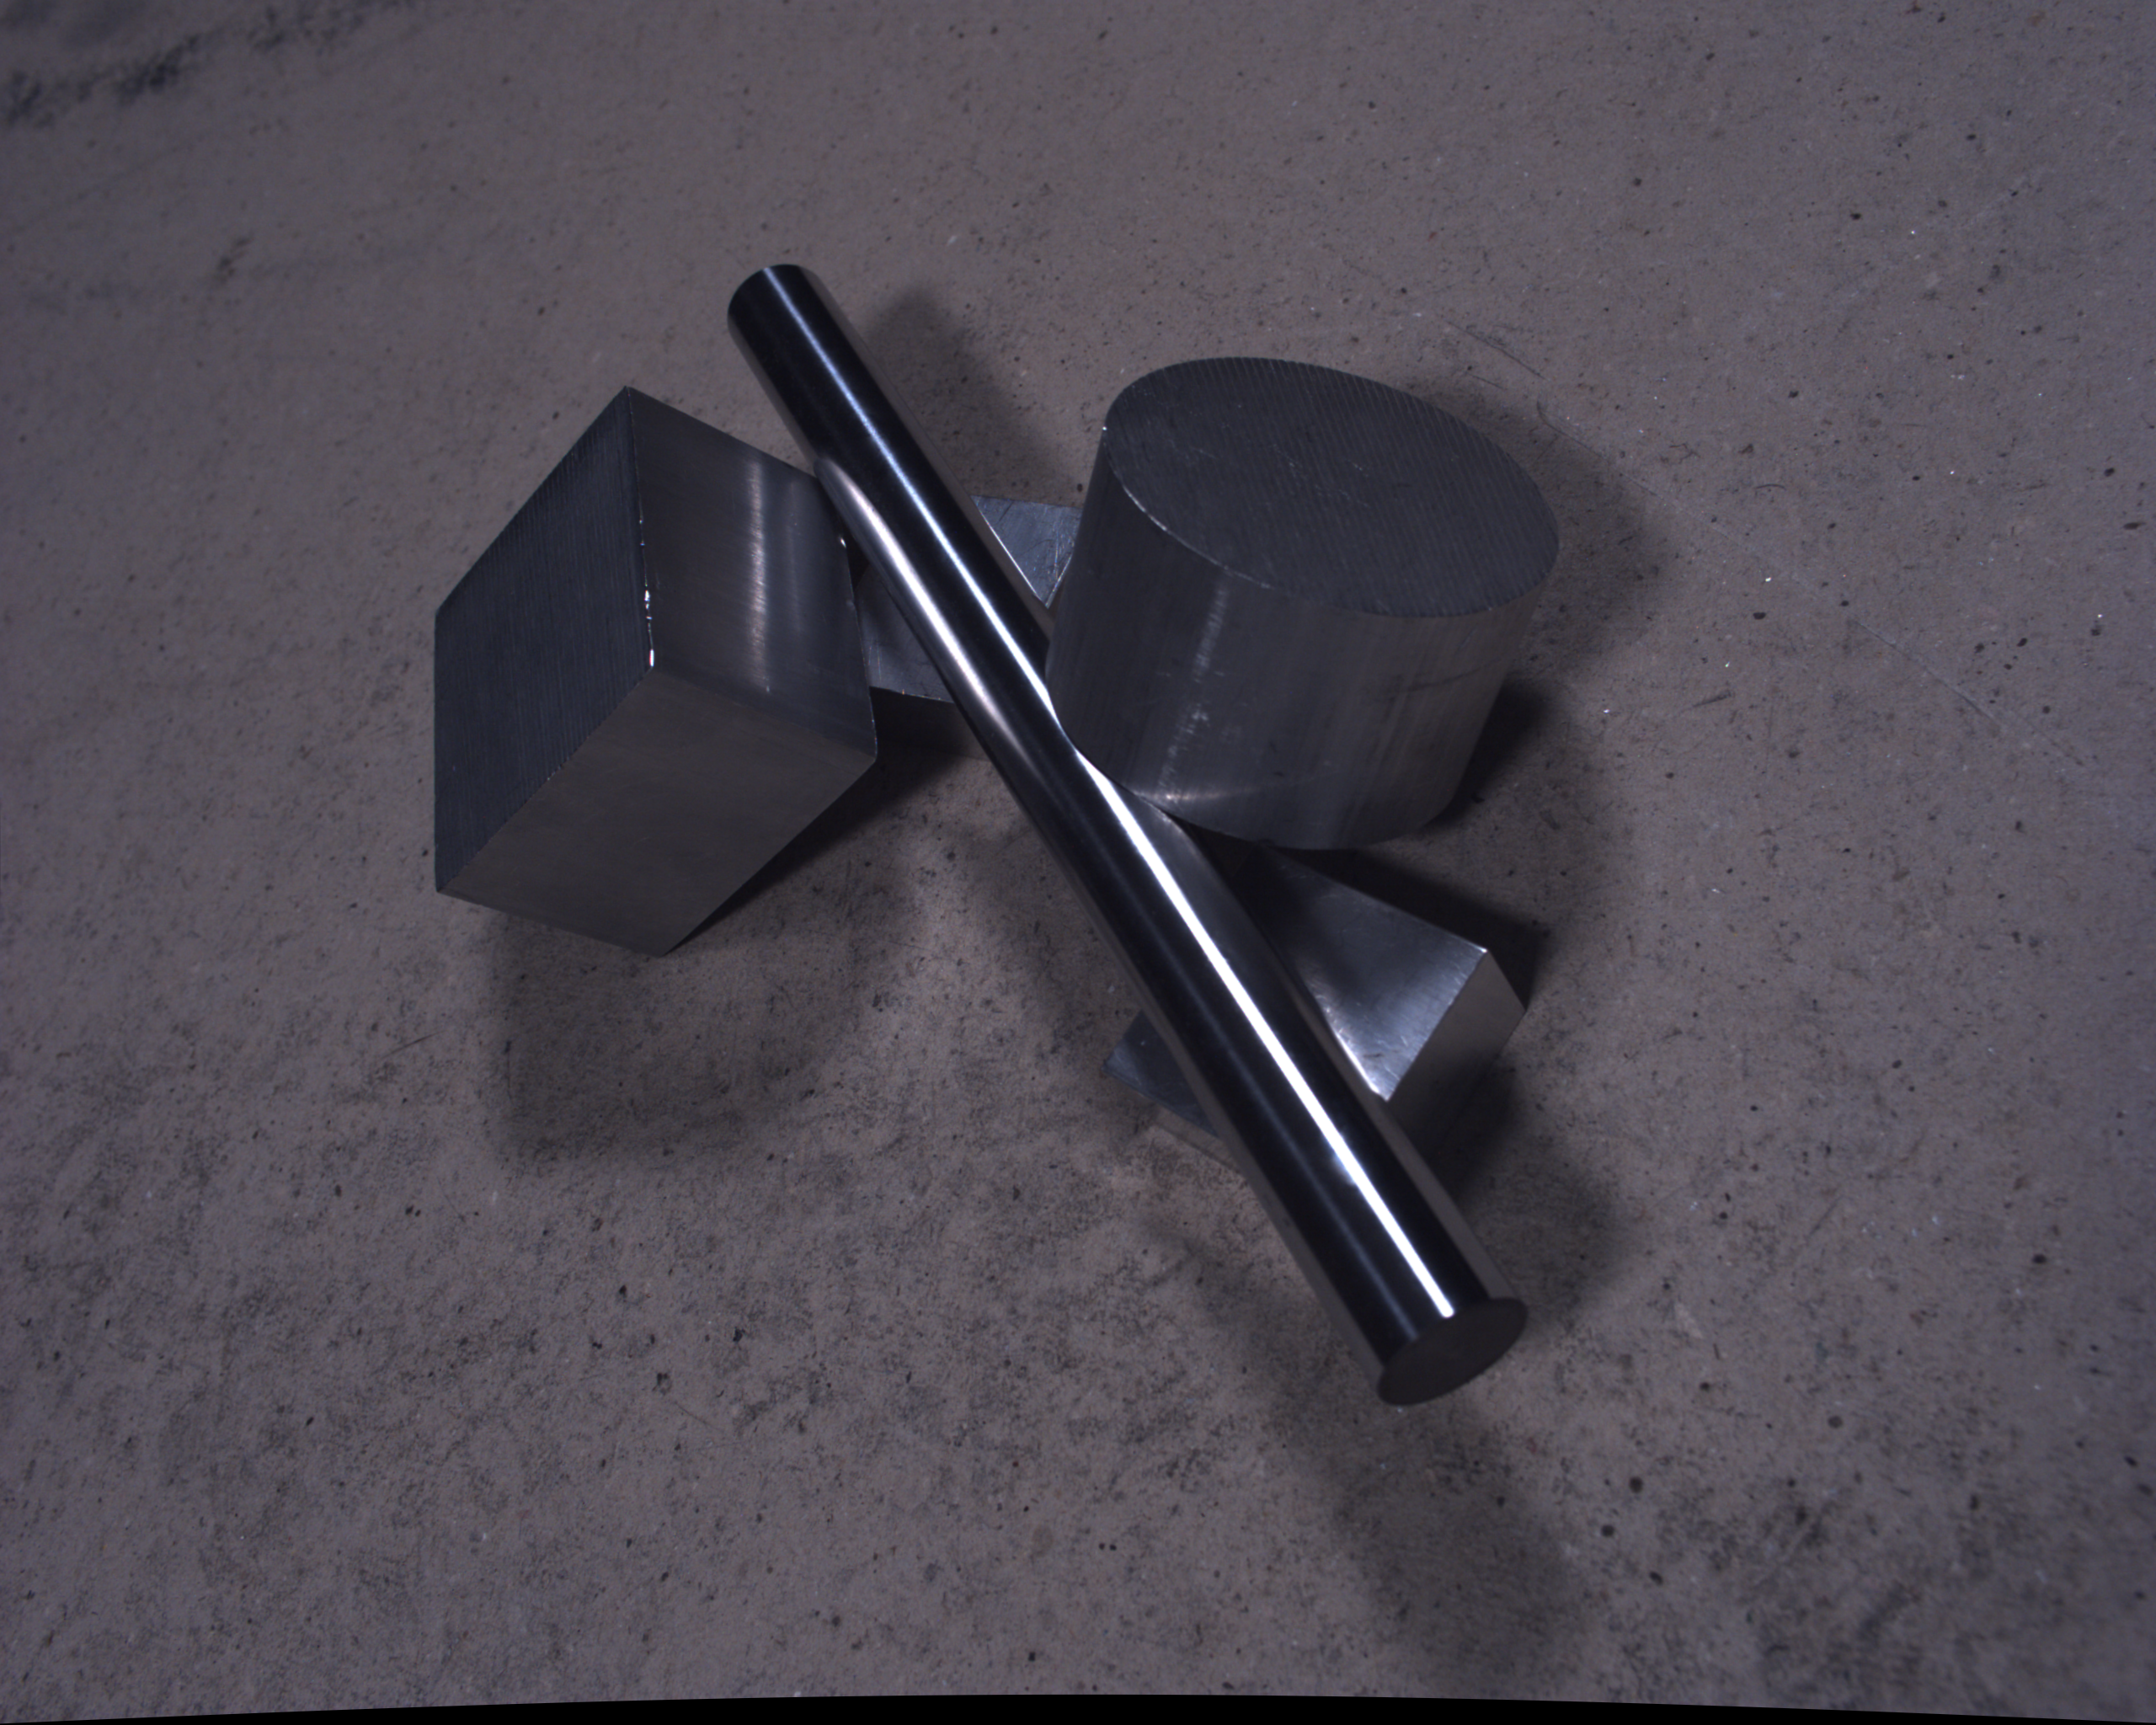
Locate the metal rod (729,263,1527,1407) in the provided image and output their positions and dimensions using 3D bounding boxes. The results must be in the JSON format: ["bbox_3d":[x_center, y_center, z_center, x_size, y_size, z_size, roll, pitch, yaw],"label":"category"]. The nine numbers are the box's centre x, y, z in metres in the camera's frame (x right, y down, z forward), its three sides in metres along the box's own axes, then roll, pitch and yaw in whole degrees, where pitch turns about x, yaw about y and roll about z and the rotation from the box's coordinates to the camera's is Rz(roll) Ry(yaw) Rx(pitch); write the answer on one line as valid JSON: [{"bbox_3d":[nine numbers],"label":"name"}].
[{"bbox_3d":[-0.008,-0.029,0.394,0.025,0.025,0.300,-35,51,4],"label":"metal rod"}]

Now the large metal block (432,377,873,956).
[{"bbox_3d":[-0.093,-0.039,0.439,0.080,0.050,0.080,-39,48,32],"label":"large metal block"}]

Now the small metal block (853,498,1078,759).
[{"bbox_3d":[-0.022,-0.050,0.447,0.050,0.025,0.050,13,68,33],"label":"small metal block"}]

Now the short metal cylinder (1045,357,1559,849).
[{"bbox_3d":[0.038,-0.048,0.372,0.081,0.050,0.080,9,41,-8],"label":"short metal cylinder"}]

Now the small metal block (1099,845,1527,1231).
[{"bbox_3d":[0.041,0.031,0.364,0.050,0.025,0.050,27,76,37],"label":"small metal block"}]
